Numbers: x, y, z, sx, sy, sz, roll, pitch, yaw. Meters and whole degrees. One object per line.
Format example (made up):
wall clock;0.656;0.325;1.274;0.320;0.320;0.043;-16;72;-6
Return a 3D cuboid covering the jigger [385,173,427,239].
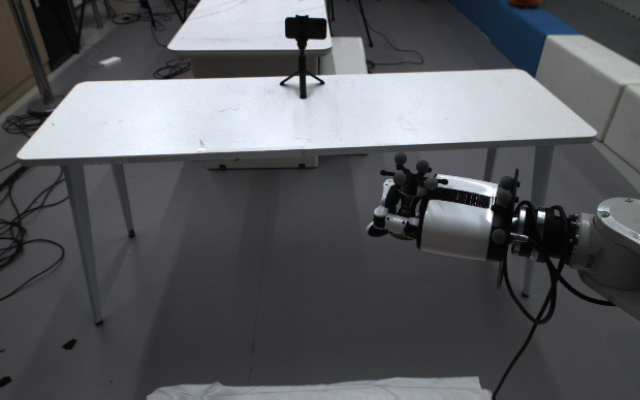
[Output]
jigger;0.121;0.016;0.666;0.043;0.071;0.043;6;26;-3
